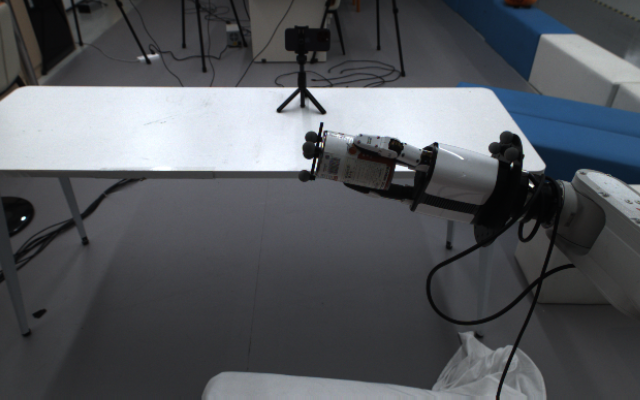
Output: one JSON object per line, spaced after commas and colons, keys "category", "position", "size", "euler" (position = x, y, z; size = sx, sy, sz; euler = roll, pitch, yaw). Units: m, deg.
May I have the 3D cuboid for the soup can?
{"category": "soup can", "position": [0.051, -0.055, 0.670], "size": [0.101, 0.067, 0.067], "euler": [11, 35, -1]}
